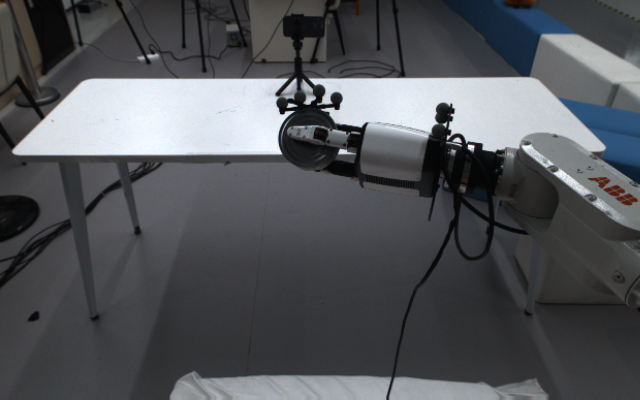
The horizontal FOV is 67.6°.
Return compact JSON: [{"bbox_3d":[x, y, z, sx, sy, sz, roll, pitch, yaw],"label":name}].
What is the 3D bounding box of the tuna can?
[{"bbox_3d":[-0.012,-0.081,0.686,0.085,0.085,0.034,10,-6,11],"label":"tuna can"}]
